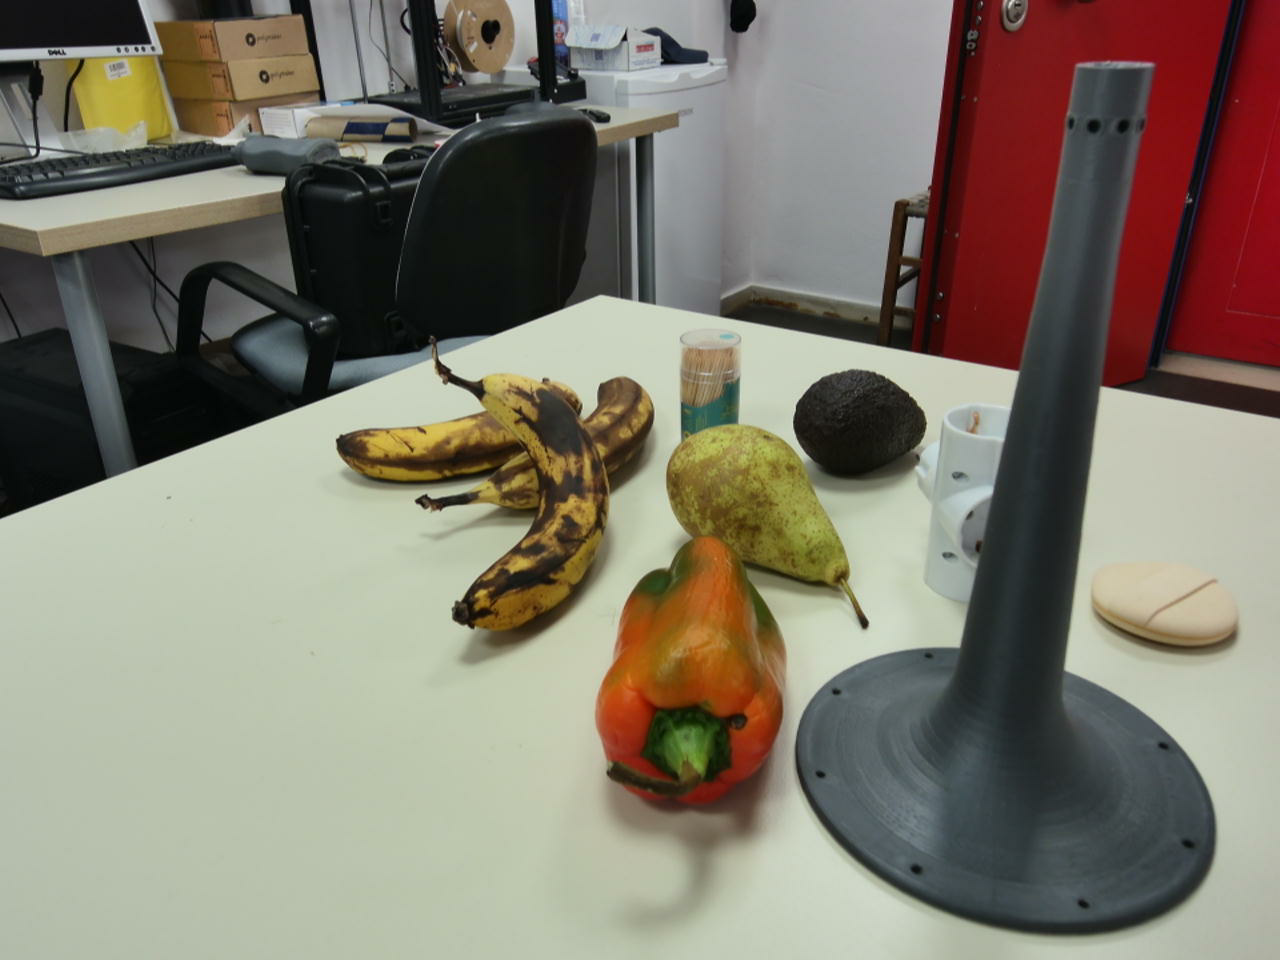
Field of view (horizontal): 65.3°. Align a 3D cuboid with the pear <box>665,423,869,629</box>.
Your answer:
[{"bbox_3d":[0.072,0.012,0.528,0.128,0.075,0.071,14,27,26],"label":"pear"}]
